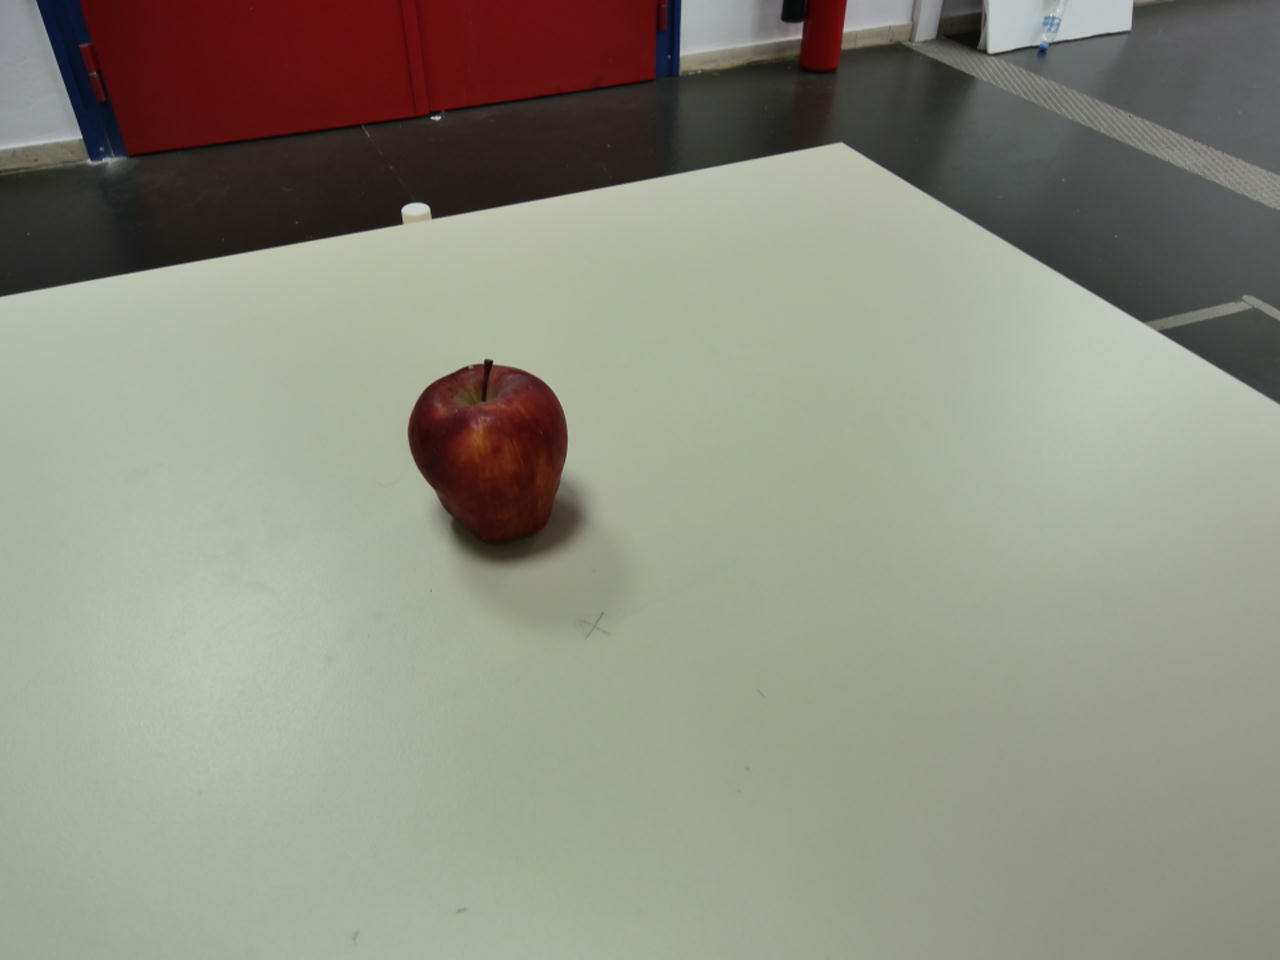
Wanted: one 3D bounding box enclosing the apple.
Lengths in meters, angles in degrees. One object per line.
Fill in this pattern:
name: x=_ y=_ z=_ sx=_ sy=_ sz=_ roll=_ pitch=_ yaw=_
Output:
apple: x=-0.074 y=-0.018 z=0.493 sx=0.083 sy=0.090 sz=0.083 roll=0 pitch=38 yaw=0
